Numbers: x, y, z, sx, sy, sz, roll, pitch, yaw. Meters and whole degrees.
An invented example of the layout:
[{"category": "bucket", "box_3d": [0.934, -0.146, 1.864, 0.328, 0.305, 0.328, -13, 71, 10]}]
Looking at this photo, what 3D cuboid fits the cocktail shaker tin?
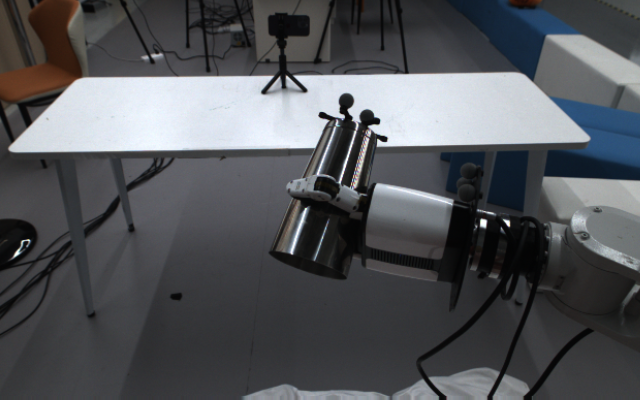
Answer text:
[{"category": "cocktail shaker tin", "box_3d": [0.013, -0.003, 0.559, 0.093, 0.093, 0.170, 14, 73, 16]}]
